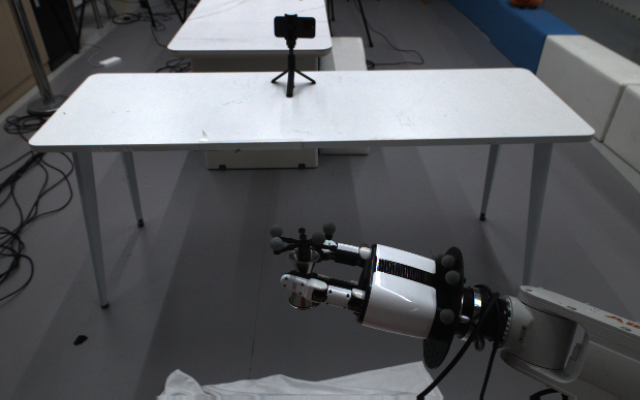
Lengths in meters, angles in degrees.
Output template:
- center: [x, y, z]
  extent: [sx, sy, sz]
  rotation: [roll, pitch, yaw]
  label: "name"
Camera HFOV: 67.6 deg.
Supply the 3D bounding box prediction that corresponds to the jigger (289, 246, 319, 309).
- center: [-0.020, 0.103, 0.634]
  extent: [0.043, 0.071, 0.043]
  rotation: [0, 21, 0]
  label: "jigger"
